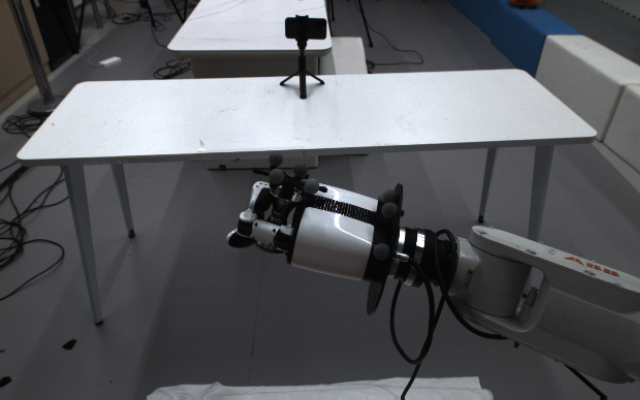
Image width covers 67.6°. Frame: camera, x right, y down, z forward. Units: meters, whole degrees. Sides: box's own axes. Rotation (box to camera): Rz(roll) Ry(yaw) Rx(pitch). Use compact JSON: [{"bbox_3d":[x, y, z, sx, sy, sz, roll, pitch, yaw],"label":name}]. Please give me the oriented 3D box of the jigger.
[{"bbox_3d":[-0.048,0.024,0.573,0.043,0.071,0.043,18,17,-6],"label":"jigger"}]
